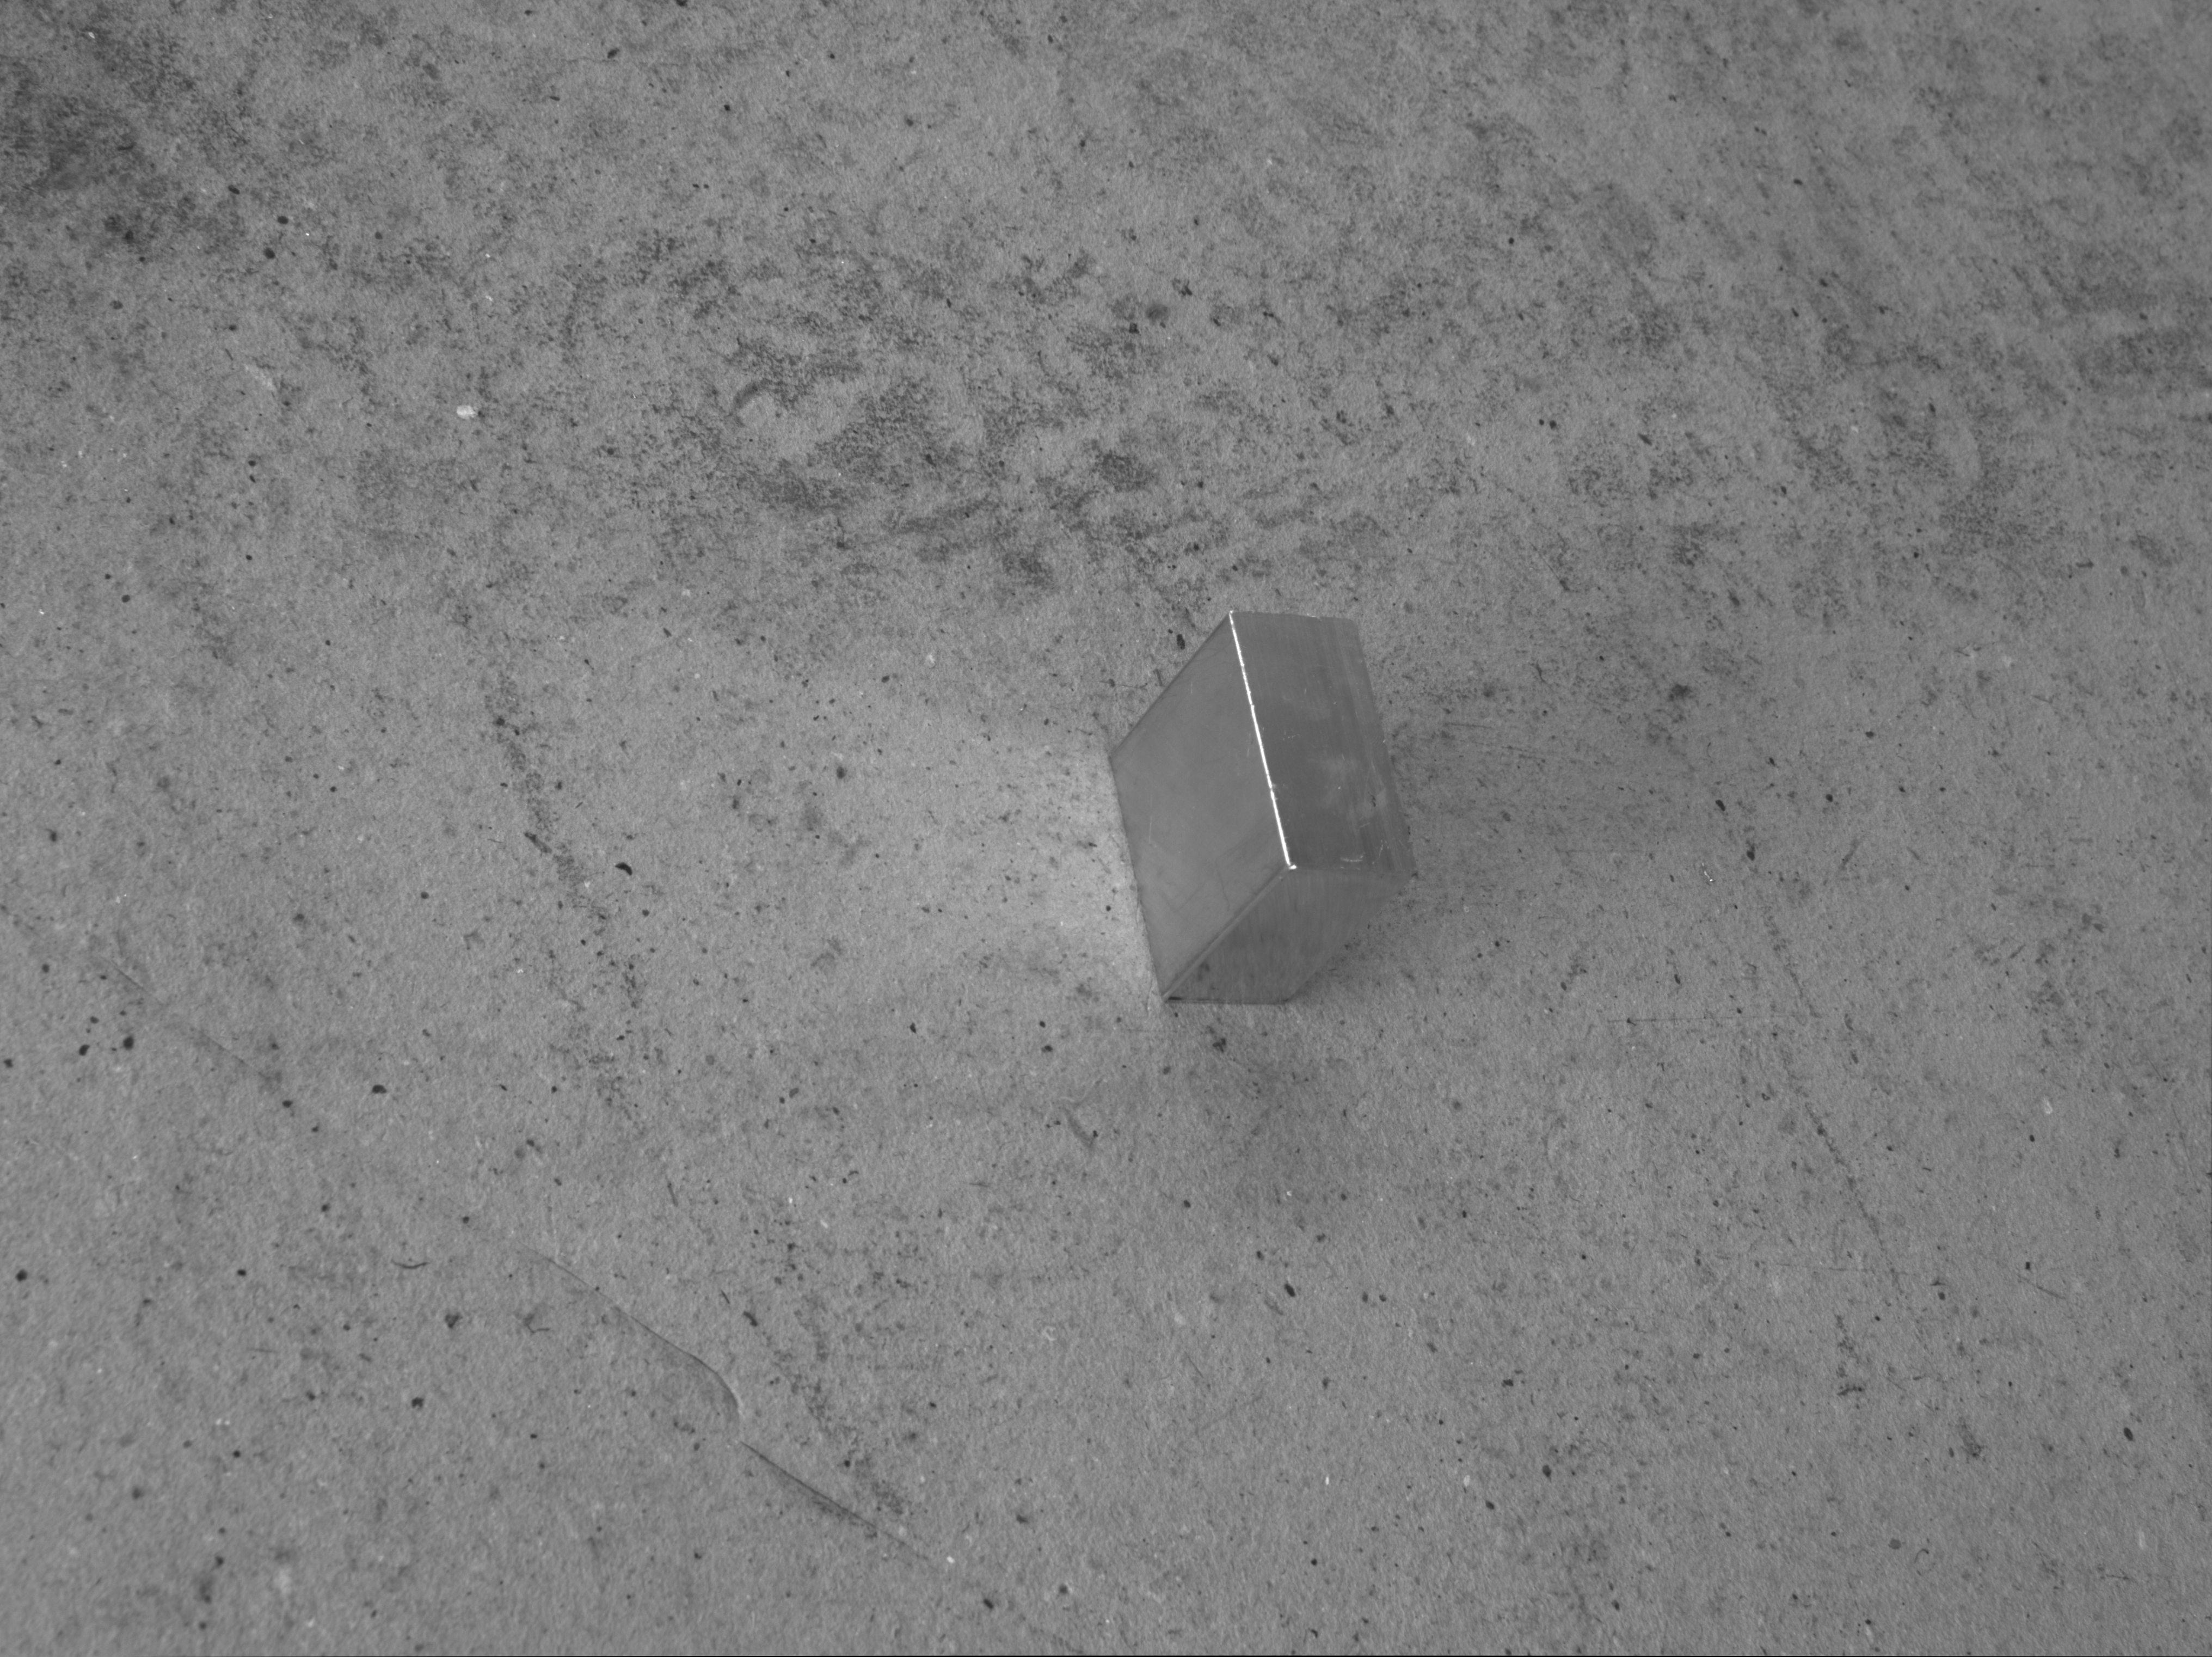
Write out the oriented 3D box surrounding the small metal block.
[{"bbox_3d":[0.026,-0.003,0.639,0.025,0.050,0.050,3,61,-28],"label":"small metal block"}]
